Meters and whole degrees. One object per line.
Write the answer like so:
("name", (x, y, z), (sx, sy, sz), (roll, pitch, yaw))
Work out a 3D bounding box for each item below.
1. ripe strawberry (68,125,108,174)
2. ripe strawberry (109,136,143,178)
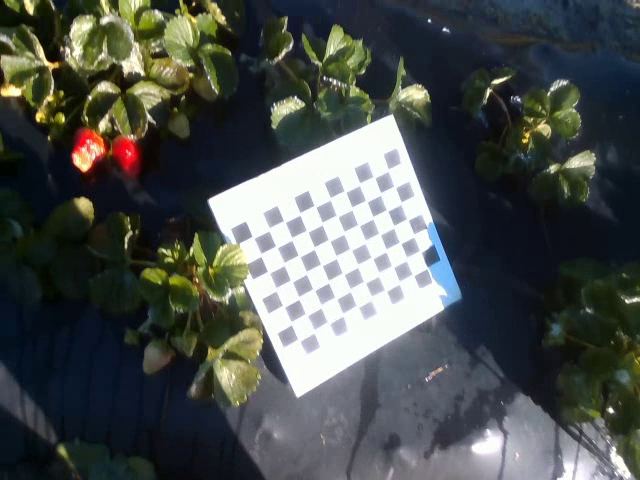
("ripe strawberry", (-0.329, -0.123, 0.895), (0.052, 0.070, 0.040), (25, -11, -26))
("ripe strawberry", (-0.276, -0.121, 0.903), (0.043, 0.059, 0.040), (-25, 7, -15))
